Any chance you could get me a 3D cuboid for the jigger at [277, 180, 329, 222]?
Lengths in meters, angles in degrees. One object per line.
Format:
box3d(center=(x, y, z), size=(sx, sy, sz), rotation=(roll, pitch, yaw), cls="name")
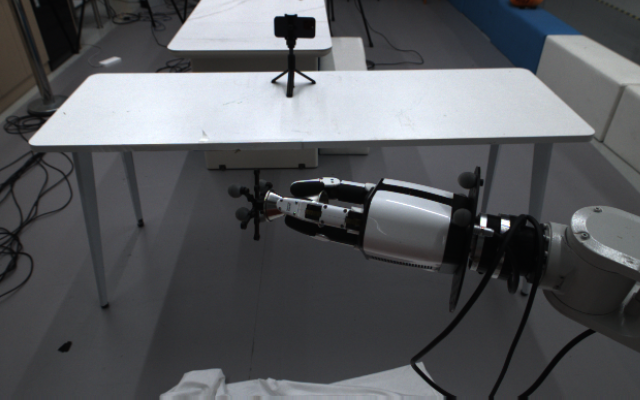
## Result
box3d(center=(-0.020, 0.004, 0.576), size=(0.071, 0.043, 0.043), rotation=(2, 34, 17), cls="jigger")
